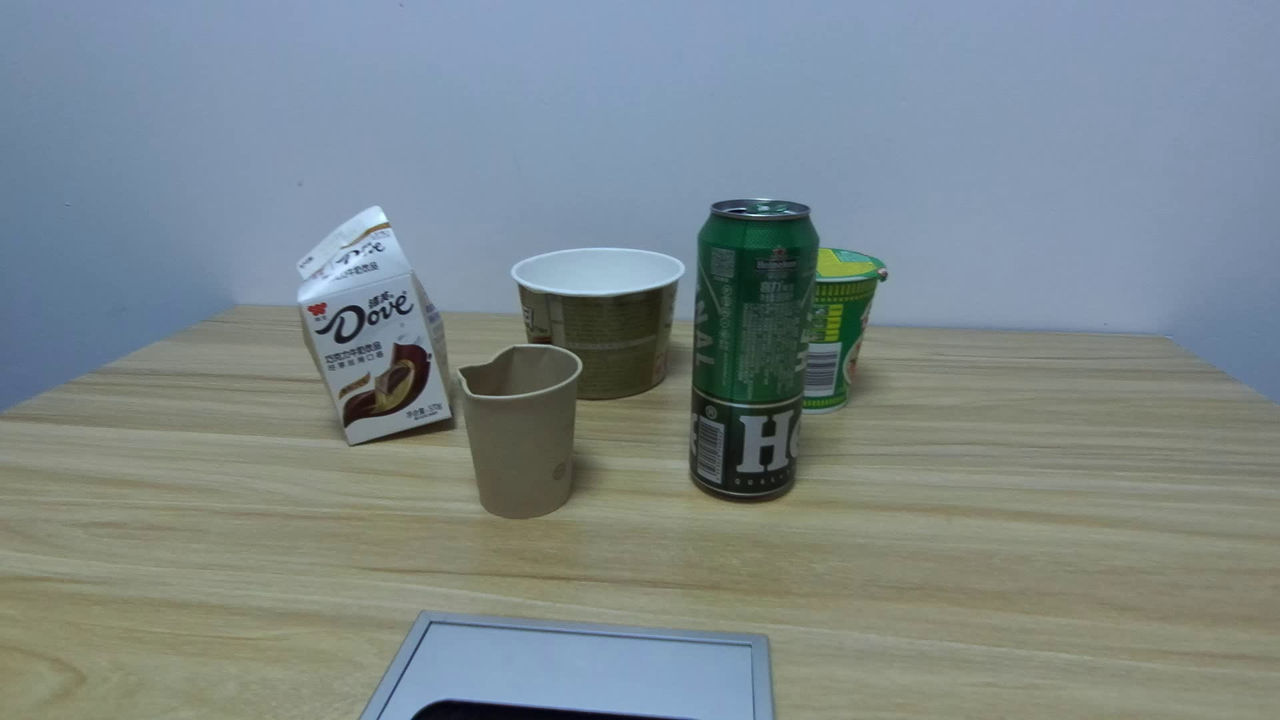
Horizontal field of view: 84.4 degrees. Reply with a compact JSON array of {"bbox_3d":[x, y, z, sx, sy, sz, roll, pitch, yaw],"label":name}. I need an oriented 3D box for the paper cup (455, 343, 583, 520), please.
[{"bbox_3d":[-0.068,0.043,0.414,0.069,0.081,0.073,-9,23,-22],"label":"paper cup"}]

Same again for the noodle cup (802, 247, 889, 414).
[{"bbox_3d":[0.129,-0.022,0.535,0.097,0.110,0.097,0,21,0],"label":"noodle cup"}]

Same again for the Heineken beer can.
[{"bbox_3d":[0.065,-0.004,0.413,0.067,0.169,0.067,1,21,0],"label":"Heineken beer can"}]

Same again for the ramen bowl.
[{"bbox_3d":[-0.033,-0.031,0.583,0.140,0.095,0.140,1,22,0],"label":"ramen bowl"}]

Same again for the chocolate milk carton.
[{"bbox_3d":[-0.187,-0.023,0.501,0.089,0.156,0.076,-21,24,-16],"label":"chocolate milk carton"}]
